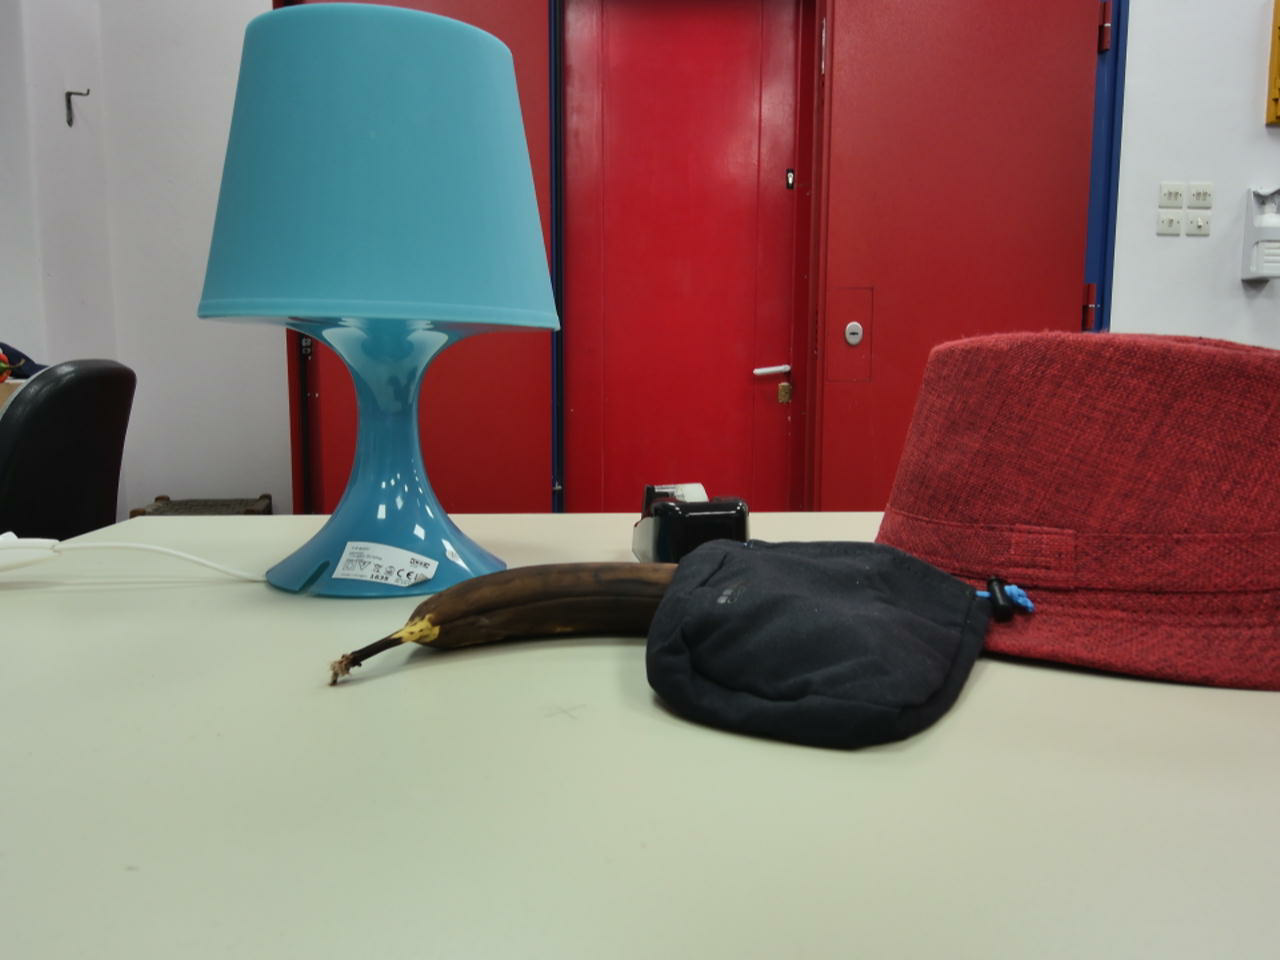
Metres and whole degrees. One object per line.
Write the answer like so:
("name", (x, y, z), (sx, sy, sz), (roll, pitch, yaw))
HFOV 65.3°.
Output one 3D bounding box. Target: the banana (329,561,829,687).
("banana", (-0.021, 0.054, 0.413), (0.188, 0.033, 0.091), (0, 4, 1))
